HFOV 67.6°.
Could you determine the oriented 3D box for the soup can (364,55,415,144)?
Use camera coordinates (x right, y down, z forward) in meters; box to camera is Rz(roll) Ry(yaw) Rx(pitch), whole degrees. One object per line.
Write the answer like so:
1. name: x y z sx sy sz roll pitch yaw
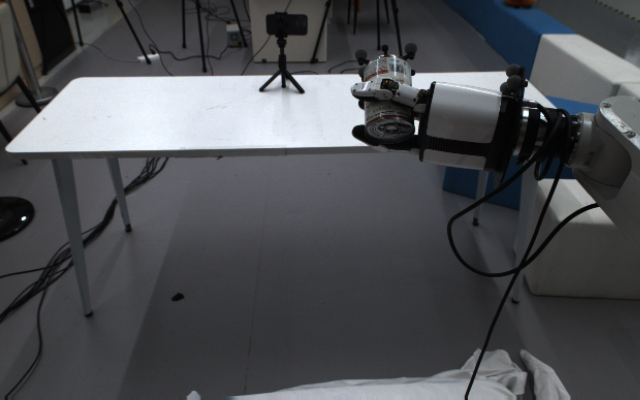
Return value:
1. soup can: 0.094 -0.137 0.660 0.067 0.067 0.101 2 68 -1
